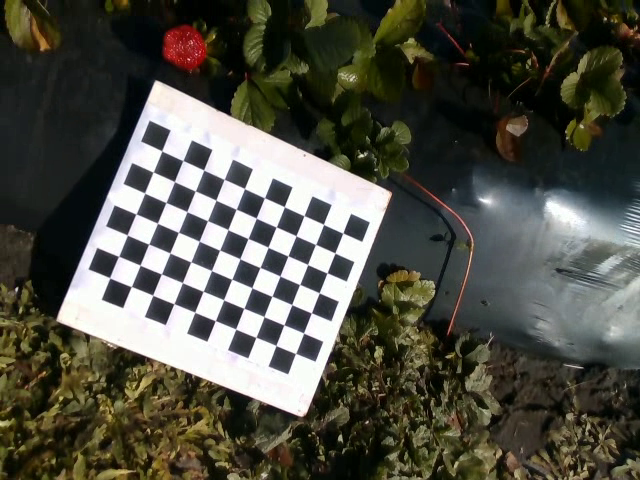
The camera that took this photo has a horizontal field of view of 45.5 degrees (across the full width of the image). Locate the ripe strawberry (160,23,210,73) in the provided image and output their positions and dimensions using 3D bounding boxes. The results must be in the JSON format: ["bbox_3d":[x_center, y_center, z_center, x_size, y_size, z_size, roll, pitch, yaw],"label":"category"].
[{"bbox_3d":[-0.147,-0.199,0.795,0.058,0.065,0.061,-22,6,16],"label":"ripe strawberry"}]
